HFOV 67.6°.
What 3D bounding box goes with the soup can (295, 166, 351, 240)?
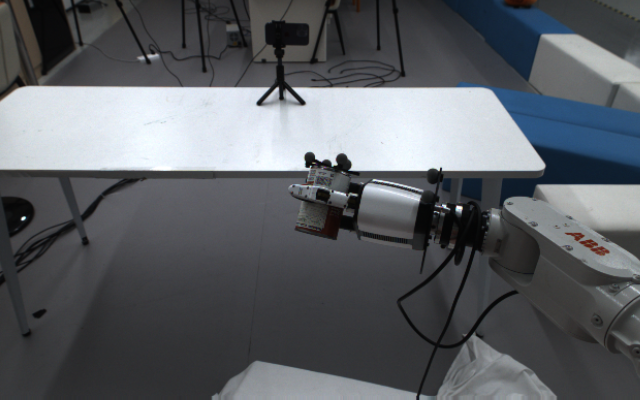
[{"bbox_3d":[0.006,0.006,0.743,0.067,0.101,0.067,14,-6,1],"label":"soup can"}]
